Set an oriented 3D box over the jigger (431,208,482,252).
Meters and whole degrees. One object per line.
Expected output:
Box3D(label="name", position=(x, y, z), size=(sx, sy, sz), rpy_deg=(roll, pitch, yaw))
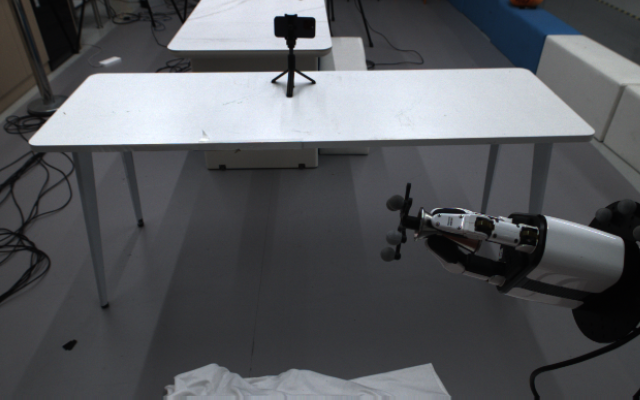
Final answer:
Box3D(label="jigger", position=(0.151, 0.029, 0.546), size=(0.071, 0.043, 0.043), rpy_deg=(11, 35, 3))
